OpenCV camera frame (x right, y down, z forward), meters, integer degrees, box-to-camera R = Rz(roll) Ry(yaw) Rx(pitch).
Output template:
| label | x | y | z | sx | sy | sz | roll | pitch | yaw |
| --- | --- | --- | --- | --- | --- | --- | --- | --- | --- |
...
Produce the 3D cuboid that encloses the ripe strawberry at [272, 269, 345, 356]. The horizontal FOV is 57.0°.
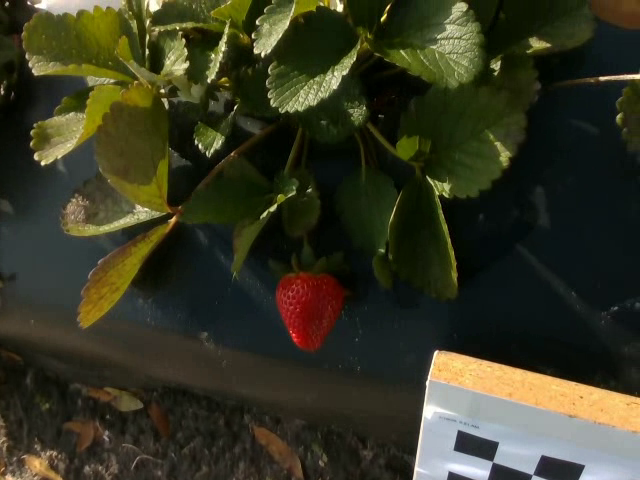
| label | x | y | z | sx | sy | sz | roll | pitch | yaw |
| --- | --- | --- | --- | --- | --- | --- | --- | --- | --- |
| ripe strawberry | -0.005 | 0.035 | 0.283 | 0.041 | 0.047 | 0.041 | -6 | -20 | 43 |
